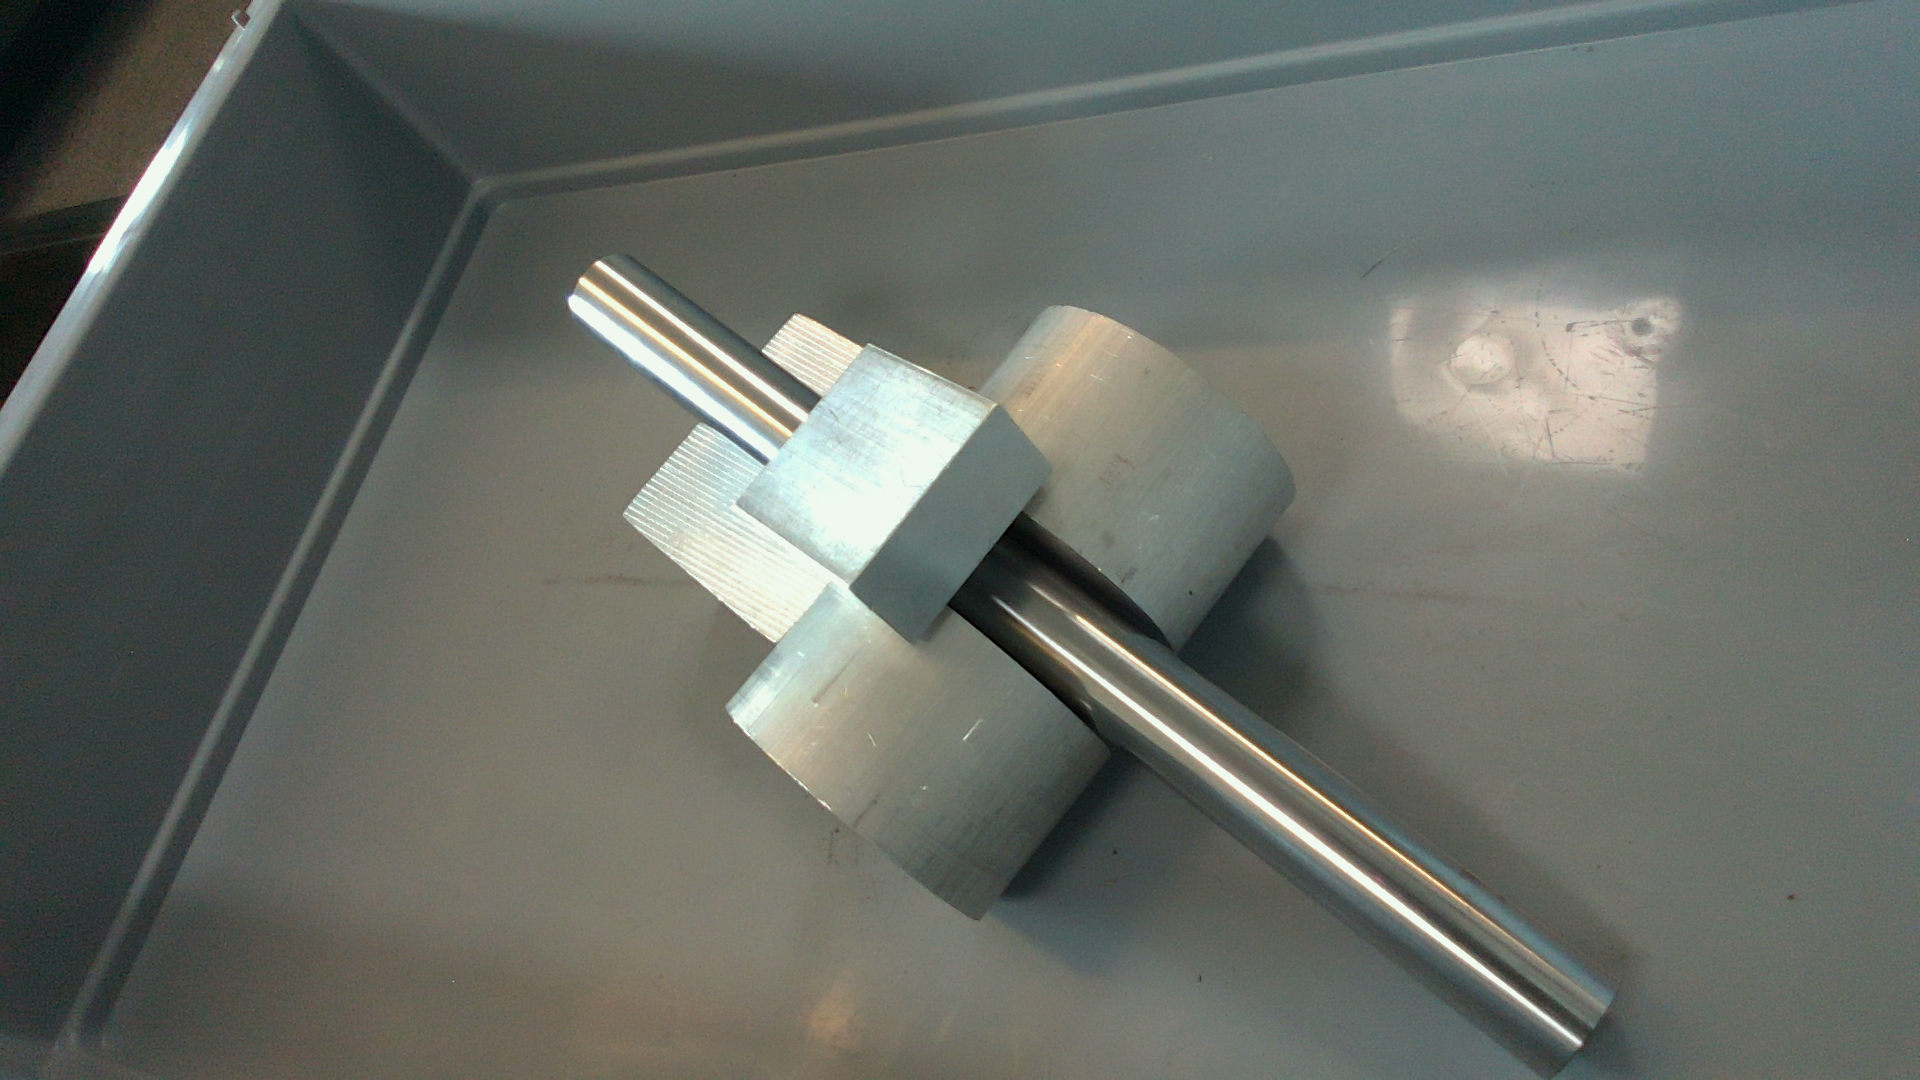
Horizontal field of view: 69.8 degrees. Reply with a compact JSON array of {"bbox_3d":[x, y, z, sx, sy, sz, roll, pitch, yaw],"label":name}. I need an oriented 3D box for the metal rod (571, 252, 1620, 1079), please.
[{"bbox_3d":[0.011,0.013,0.327,0.299,0.025,0.025,37,82,23],"label":"metal rod"}]

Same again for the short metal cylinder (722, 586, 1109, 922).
[{"bbox_3d":[-0.011,0.046,0.334,0.080,0.080,0.050,34,81,38],"label":"short metal cylinder"}]

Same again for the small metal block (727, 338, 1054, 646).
[{"bbox_3d":[-0.016,-0.012,0.306,0.050,0.025,0.050,-51,43,-8],"label":"small metal block"}]

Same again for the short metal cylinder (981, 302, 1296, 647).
[{"bbox_3d":[0.036,-0.014,0.346,0.080,0.080,0.050,31,79,38],"label":"short metal cylinder"}]

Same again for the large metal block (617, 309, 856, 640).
[{"bbox_3d":[-0.038,-0.009,0.400,0.080,0.050,0.080,33,80,38],"label":"large metal block"}]
